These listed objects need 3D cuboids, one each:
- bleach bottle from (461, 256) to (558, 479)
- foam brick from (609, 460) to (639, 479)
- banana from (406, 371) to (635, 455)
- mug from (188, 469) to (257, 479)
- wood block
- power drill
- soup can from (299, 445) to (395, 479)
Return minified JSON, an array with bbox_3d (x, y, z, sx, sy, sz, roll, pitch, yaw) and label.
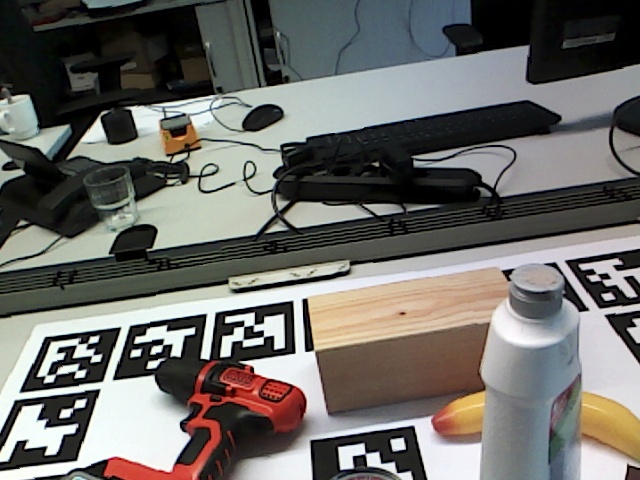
[{"bbox_3d":[0.136,0.121,0.439,0.068,0.250,0.102,7,32,28],"label":"bleach bottle"},{"bbox_3d":[0.229,0.208,0.438,0.053,0.078,0.051,9,32,33],"label":"foam brick"},{"bbox_3d":[0.181,0.153,0.578,0.198,0.038,0.074,2,45,15],"label":"banana"},{"bbox_3d":[-0.081,0.243,0.459,0.094,0.081,0.117,20,44,37],"label":"mug"},{"bbox_3d":[0.094,0.101,0.648,0.206,0.090,0.090,-9,31,2],"label":"wood block"},{"bbox_3d":[-0.132,0.192,0.598,0.185,0.057,0.186,10,34,25],"label":"power drill"},{"bbox_3d":[0.024,0.212,0.451,0.068,0.102,0.068,-6,26,3],"label":"soup can"}]
